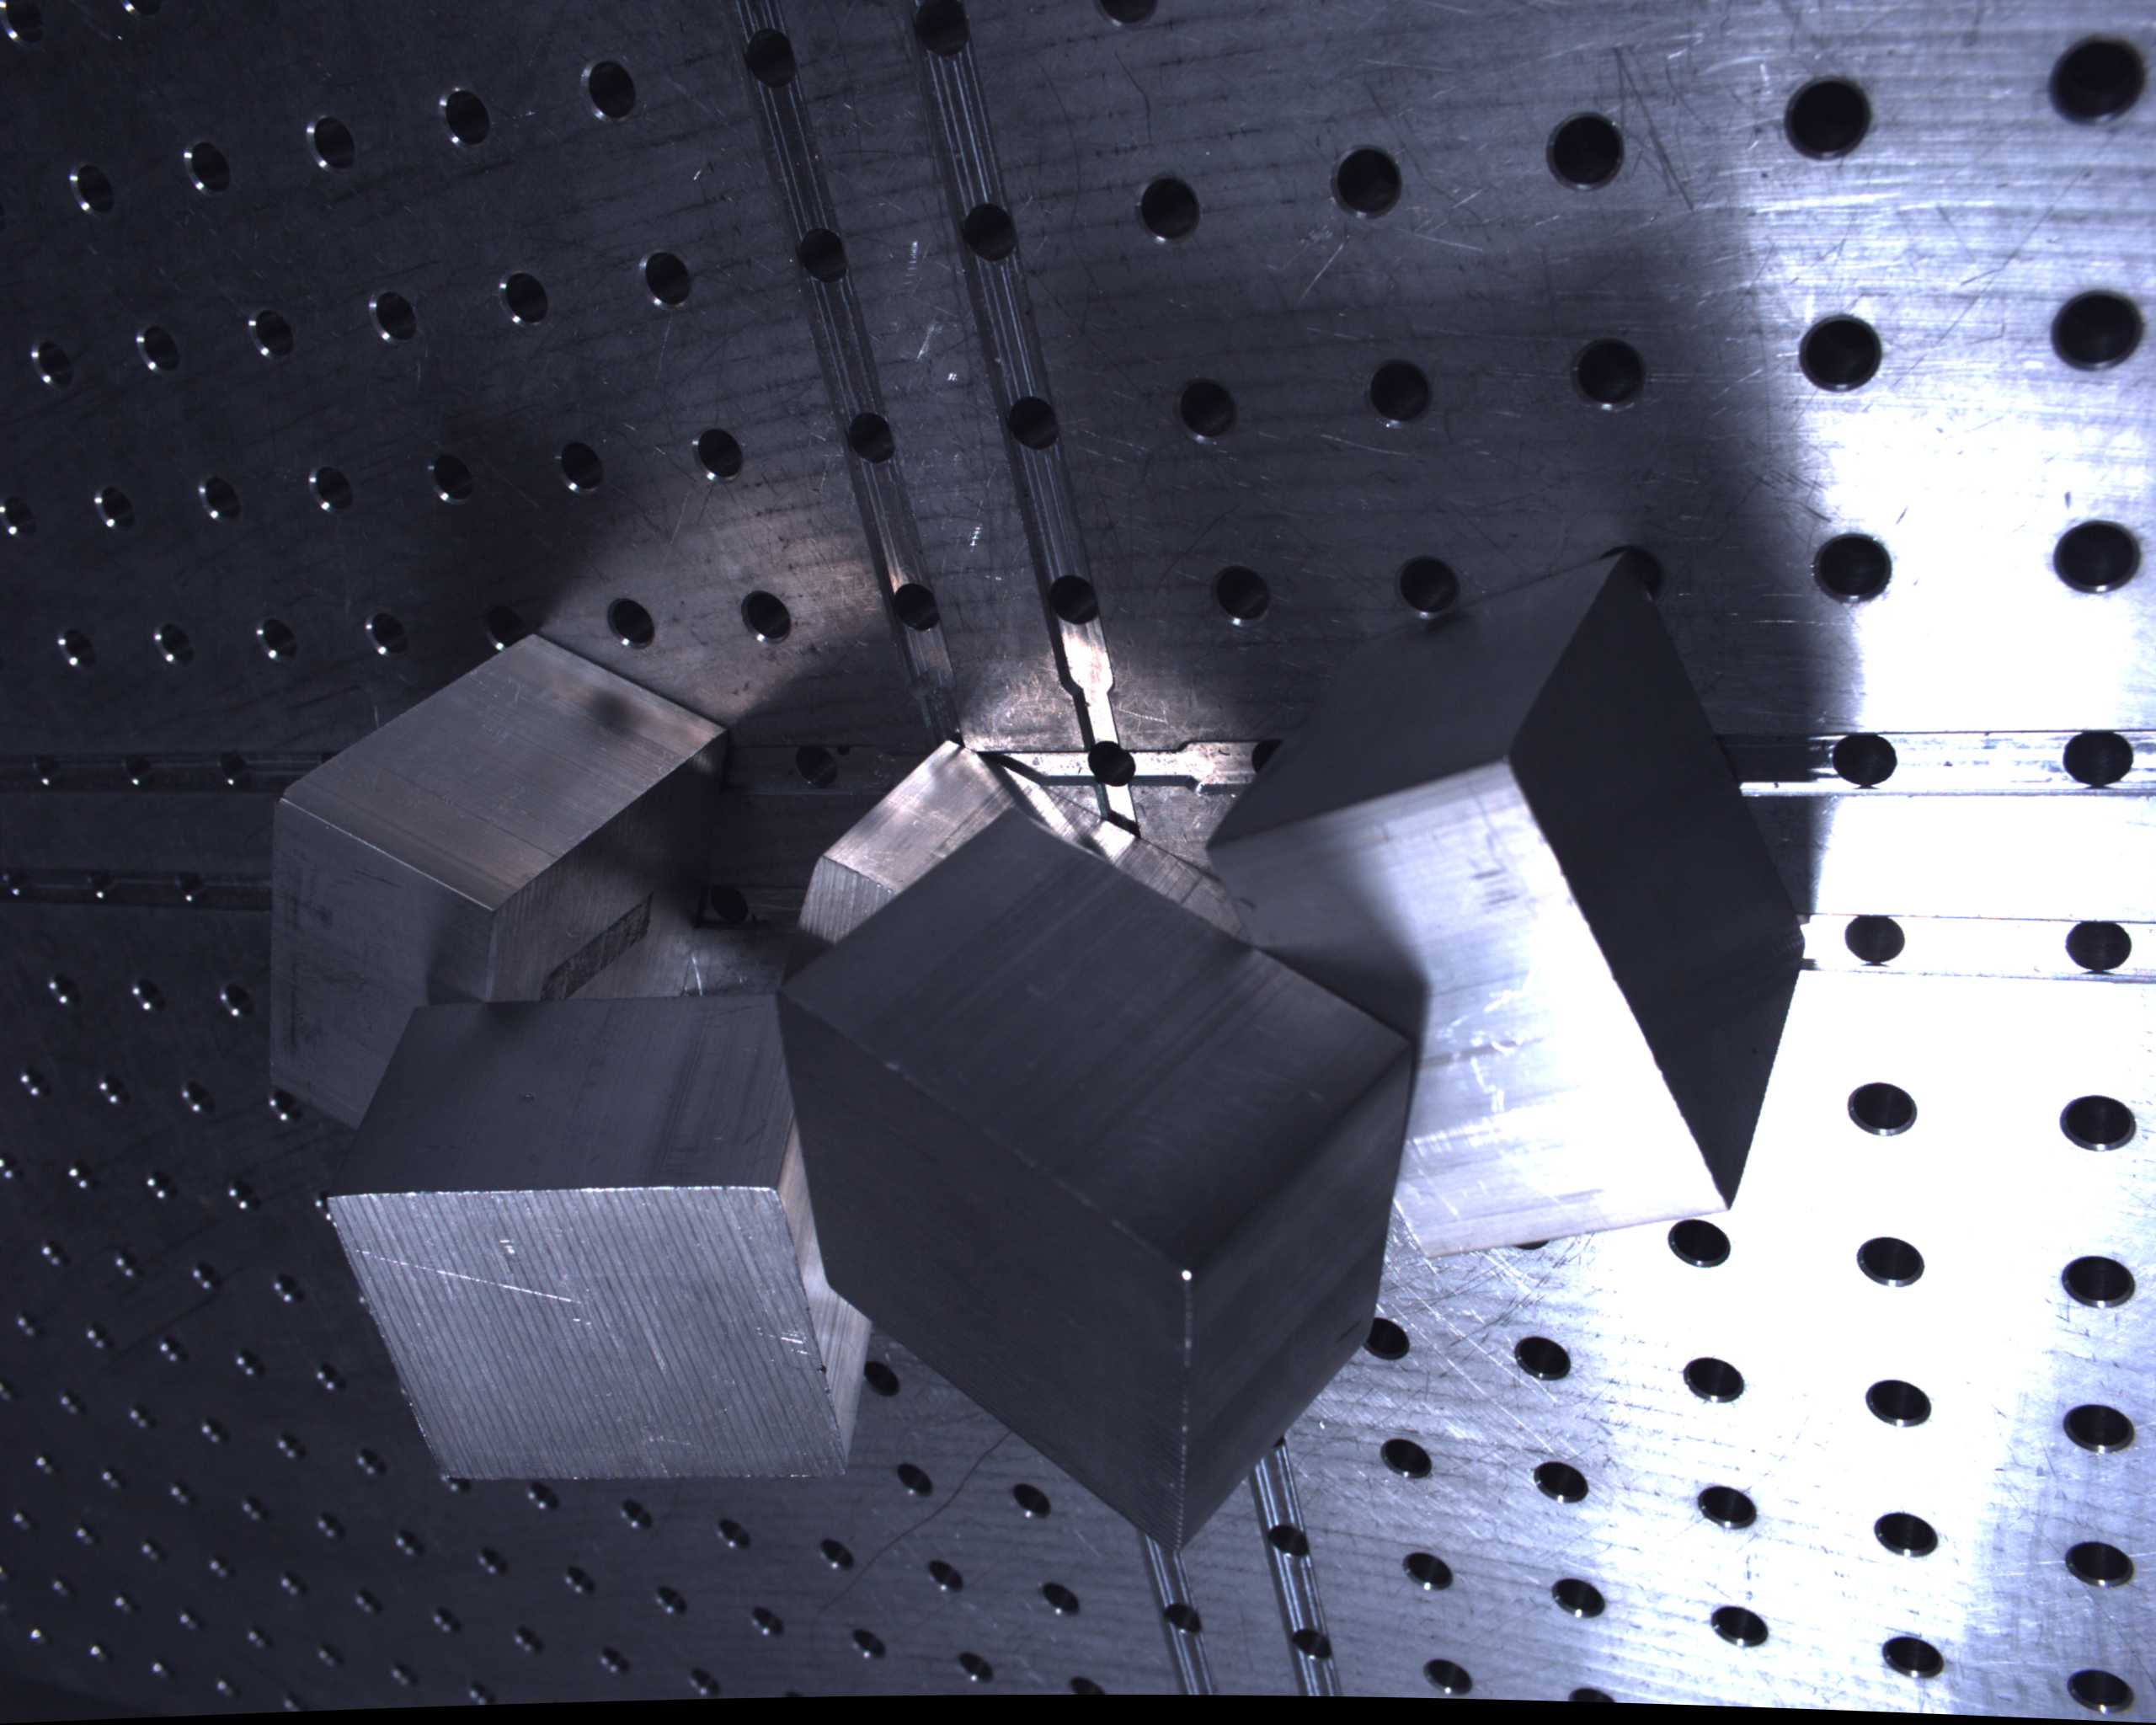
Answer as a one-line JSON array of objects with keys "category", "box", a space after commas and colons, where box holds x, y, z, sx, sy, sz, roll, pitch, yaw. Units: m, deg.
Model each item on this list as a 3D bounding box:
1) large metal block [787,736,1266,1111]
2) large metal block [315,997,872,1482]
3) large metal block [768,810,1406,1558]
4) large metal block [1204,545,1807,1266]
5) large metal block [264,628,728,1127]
[{"category": "large metal block", "box": [-0.014, 0.034, 0.421, 0.080, 0.050, 0.079, 28, 128, 10]}, {"category": "large metal block", "box": [-0.086, 0.073, 0.399, 0.080, 0.050, 0.079, -2, 127, 5]}, {"category": "large metal block", "box": [0.001, 0.051, 0.335, 0.080, 0.050, 0.080, 30, 143, 28]}, {"category": "large metal block", "box": [0.074, 0.006, 0.339, 0.050, 0.080, 0.080, -17, 110, 34]}, {"category": "large metal block", "box": [-0.123, 0.009, 0.443, 0.050, 0.080, 0.079, 27, 128, 11]}]
